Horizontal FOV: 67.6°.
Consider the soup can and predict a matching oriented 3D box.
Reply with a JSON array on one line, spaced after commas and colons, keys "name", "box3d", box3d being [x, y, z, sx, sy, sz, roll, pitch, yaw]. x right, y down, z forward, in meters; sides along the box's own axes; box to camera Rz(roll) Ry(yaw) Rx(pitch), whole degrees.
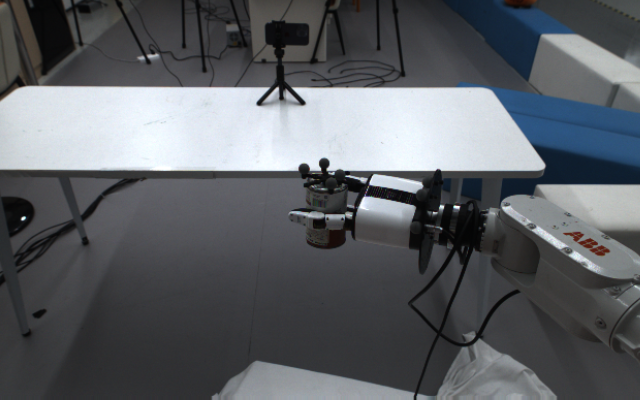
[{"name": "soup can", "box3d": [0.010, 0.018, 0.771, 0.067, 0.101, 0.067, 1, 25, 0]}]
